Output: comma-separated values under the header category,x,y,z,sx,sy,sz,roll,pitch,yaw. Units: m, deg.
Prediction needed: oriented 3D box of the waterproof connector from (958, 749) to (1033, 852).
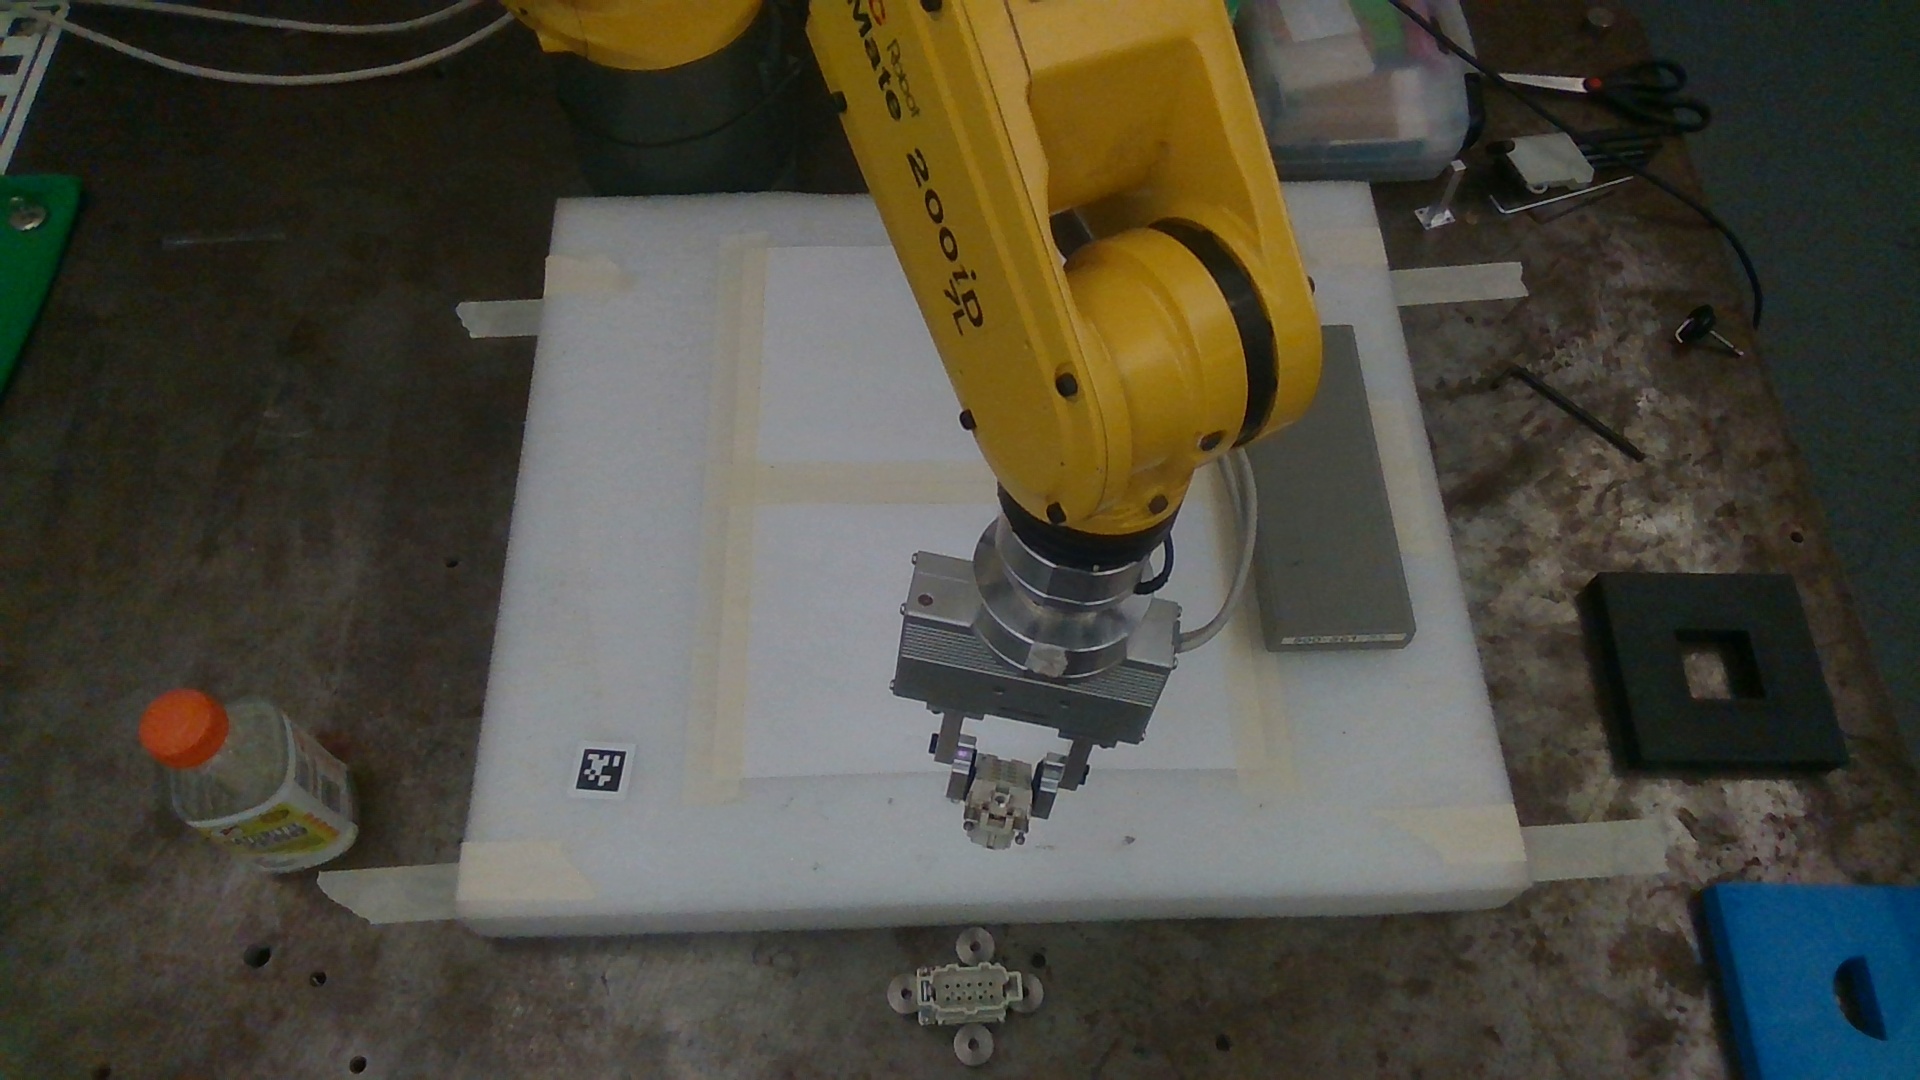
category,x,y,z,sx,sy,sz,roll,pitch,yaw
waterproof connector,0.017,0.136,0.725,0.037,0.069,0.038,12,97,0
